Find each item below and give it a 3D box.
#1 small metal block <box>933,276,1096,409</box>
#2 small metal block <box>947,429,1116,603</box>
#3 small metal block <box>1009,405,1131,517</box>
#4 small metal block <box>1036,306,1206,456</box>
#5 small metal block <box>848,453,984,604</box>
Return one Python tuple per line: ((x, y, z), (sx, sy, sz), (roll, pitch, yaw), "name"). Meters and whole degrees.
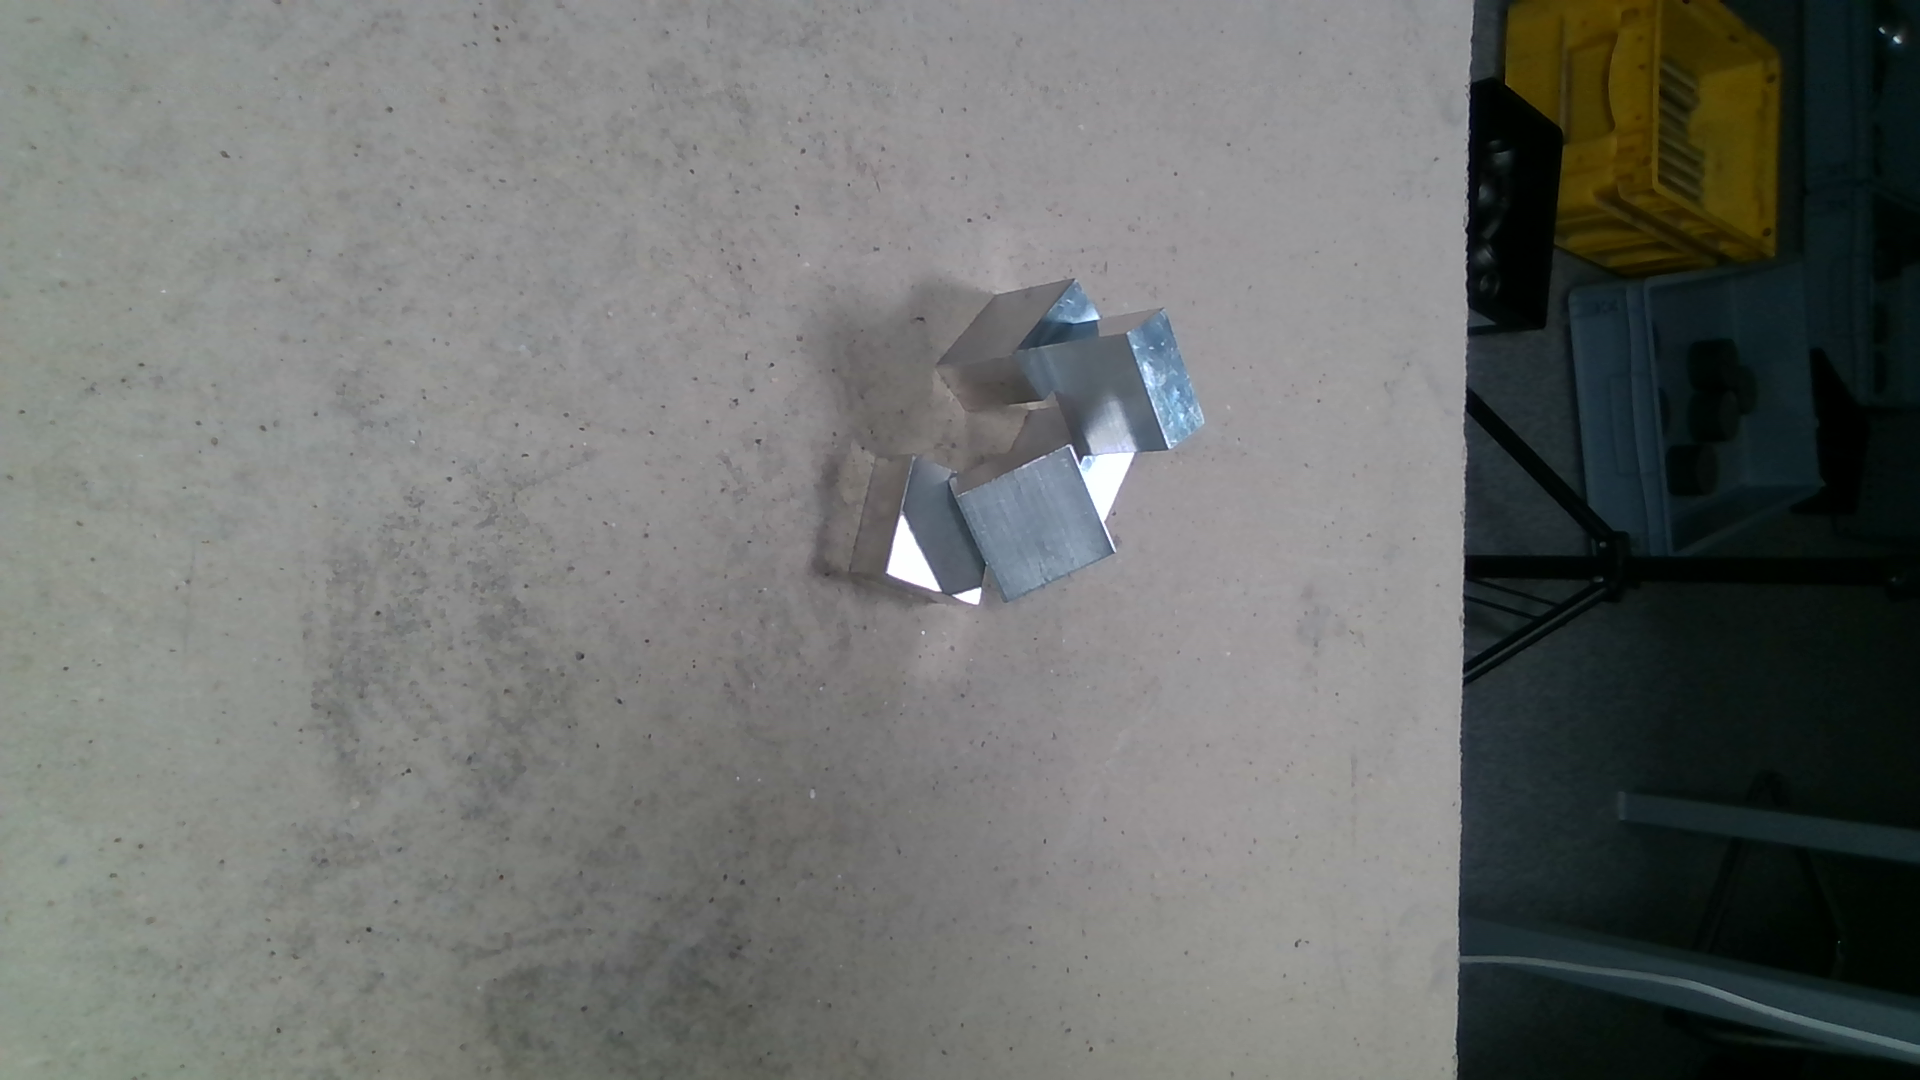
((0.025, -0.084, 0.588), (0.050, 0.050, 0.025), (-52, 121, -27), "small metal block")
((0.029, -0.010, 0.559), (0.050, 0.025, 0.050), (-25, 110, 1), "small metal block")
((0.045, -0.033, 0.606), (0.025, 0.050, 0.050), (39, 66, -33), "small metal block")
((0.065, -0.063, 0.556), (0.025, 0.050, 0.050), (-37, 113, -34), "small metal block")
((-0.014, -0.004, 0.572), (0.050, 0.025, 0.050), (20, 77, -38), "small metal block")
